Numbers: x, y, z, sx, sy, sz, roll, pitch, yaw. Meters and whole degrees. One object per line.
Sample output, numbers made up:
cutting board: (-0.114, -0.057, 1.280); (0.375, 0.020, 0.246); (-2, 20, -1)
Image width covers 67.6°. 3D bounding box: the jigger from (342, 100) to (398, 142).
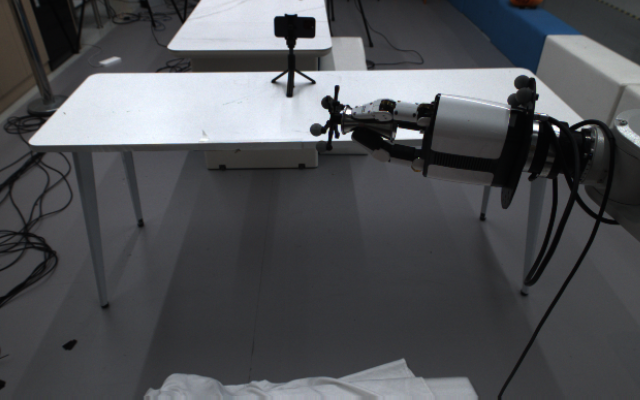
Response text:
jigger: (0.072, -0.107, 0.639); (0.071, 0.043, 0.043); (9, 35, 16)
